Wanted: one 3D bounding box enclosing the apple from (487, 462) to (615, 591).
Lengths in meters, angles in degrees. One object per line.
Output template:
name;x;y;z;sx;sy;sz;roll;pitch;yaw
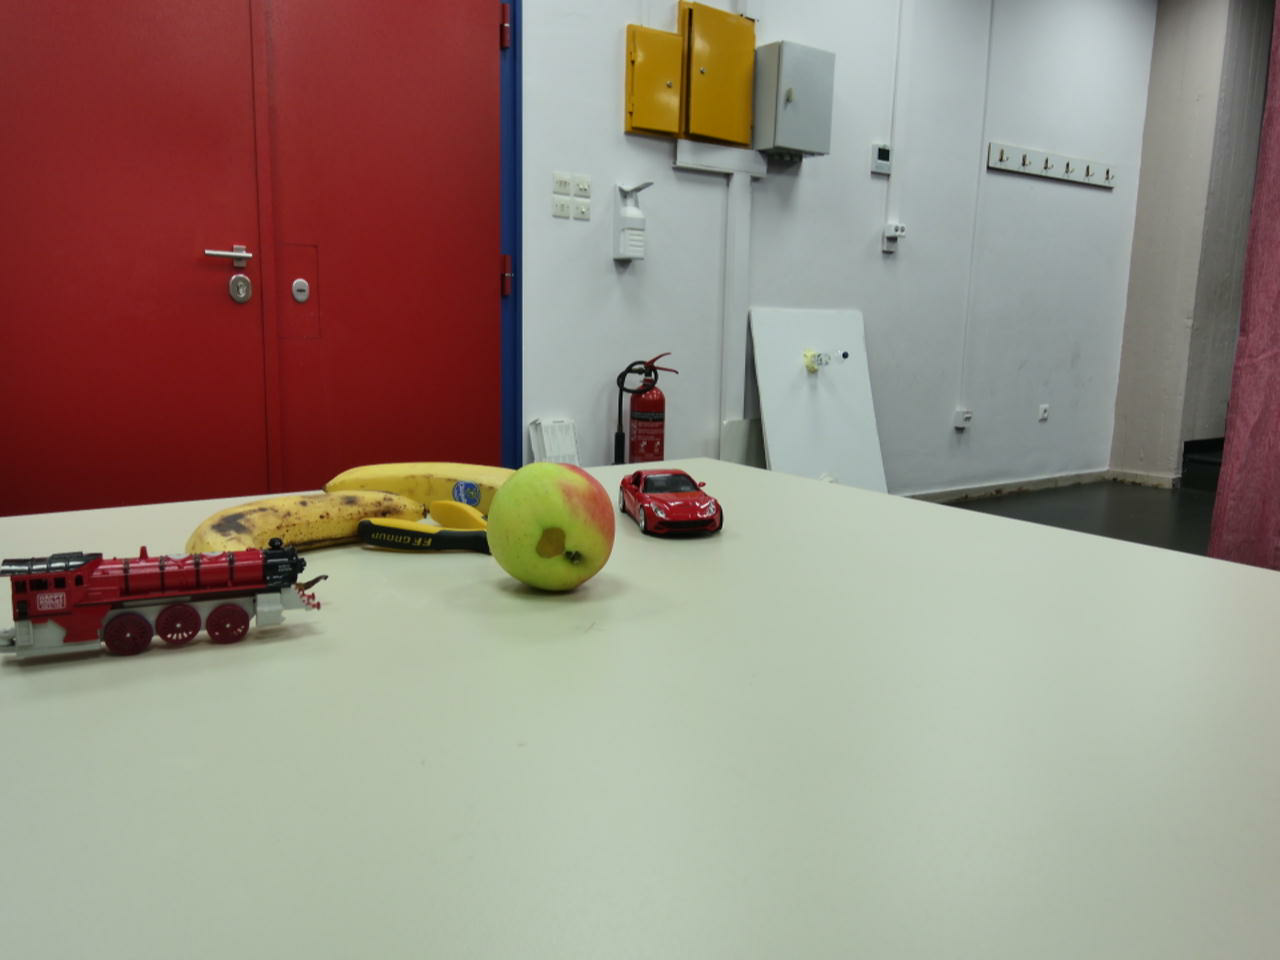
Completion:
apple;-0.051;0.027;0.589;0.075;0.074;0.075;6;9;34
